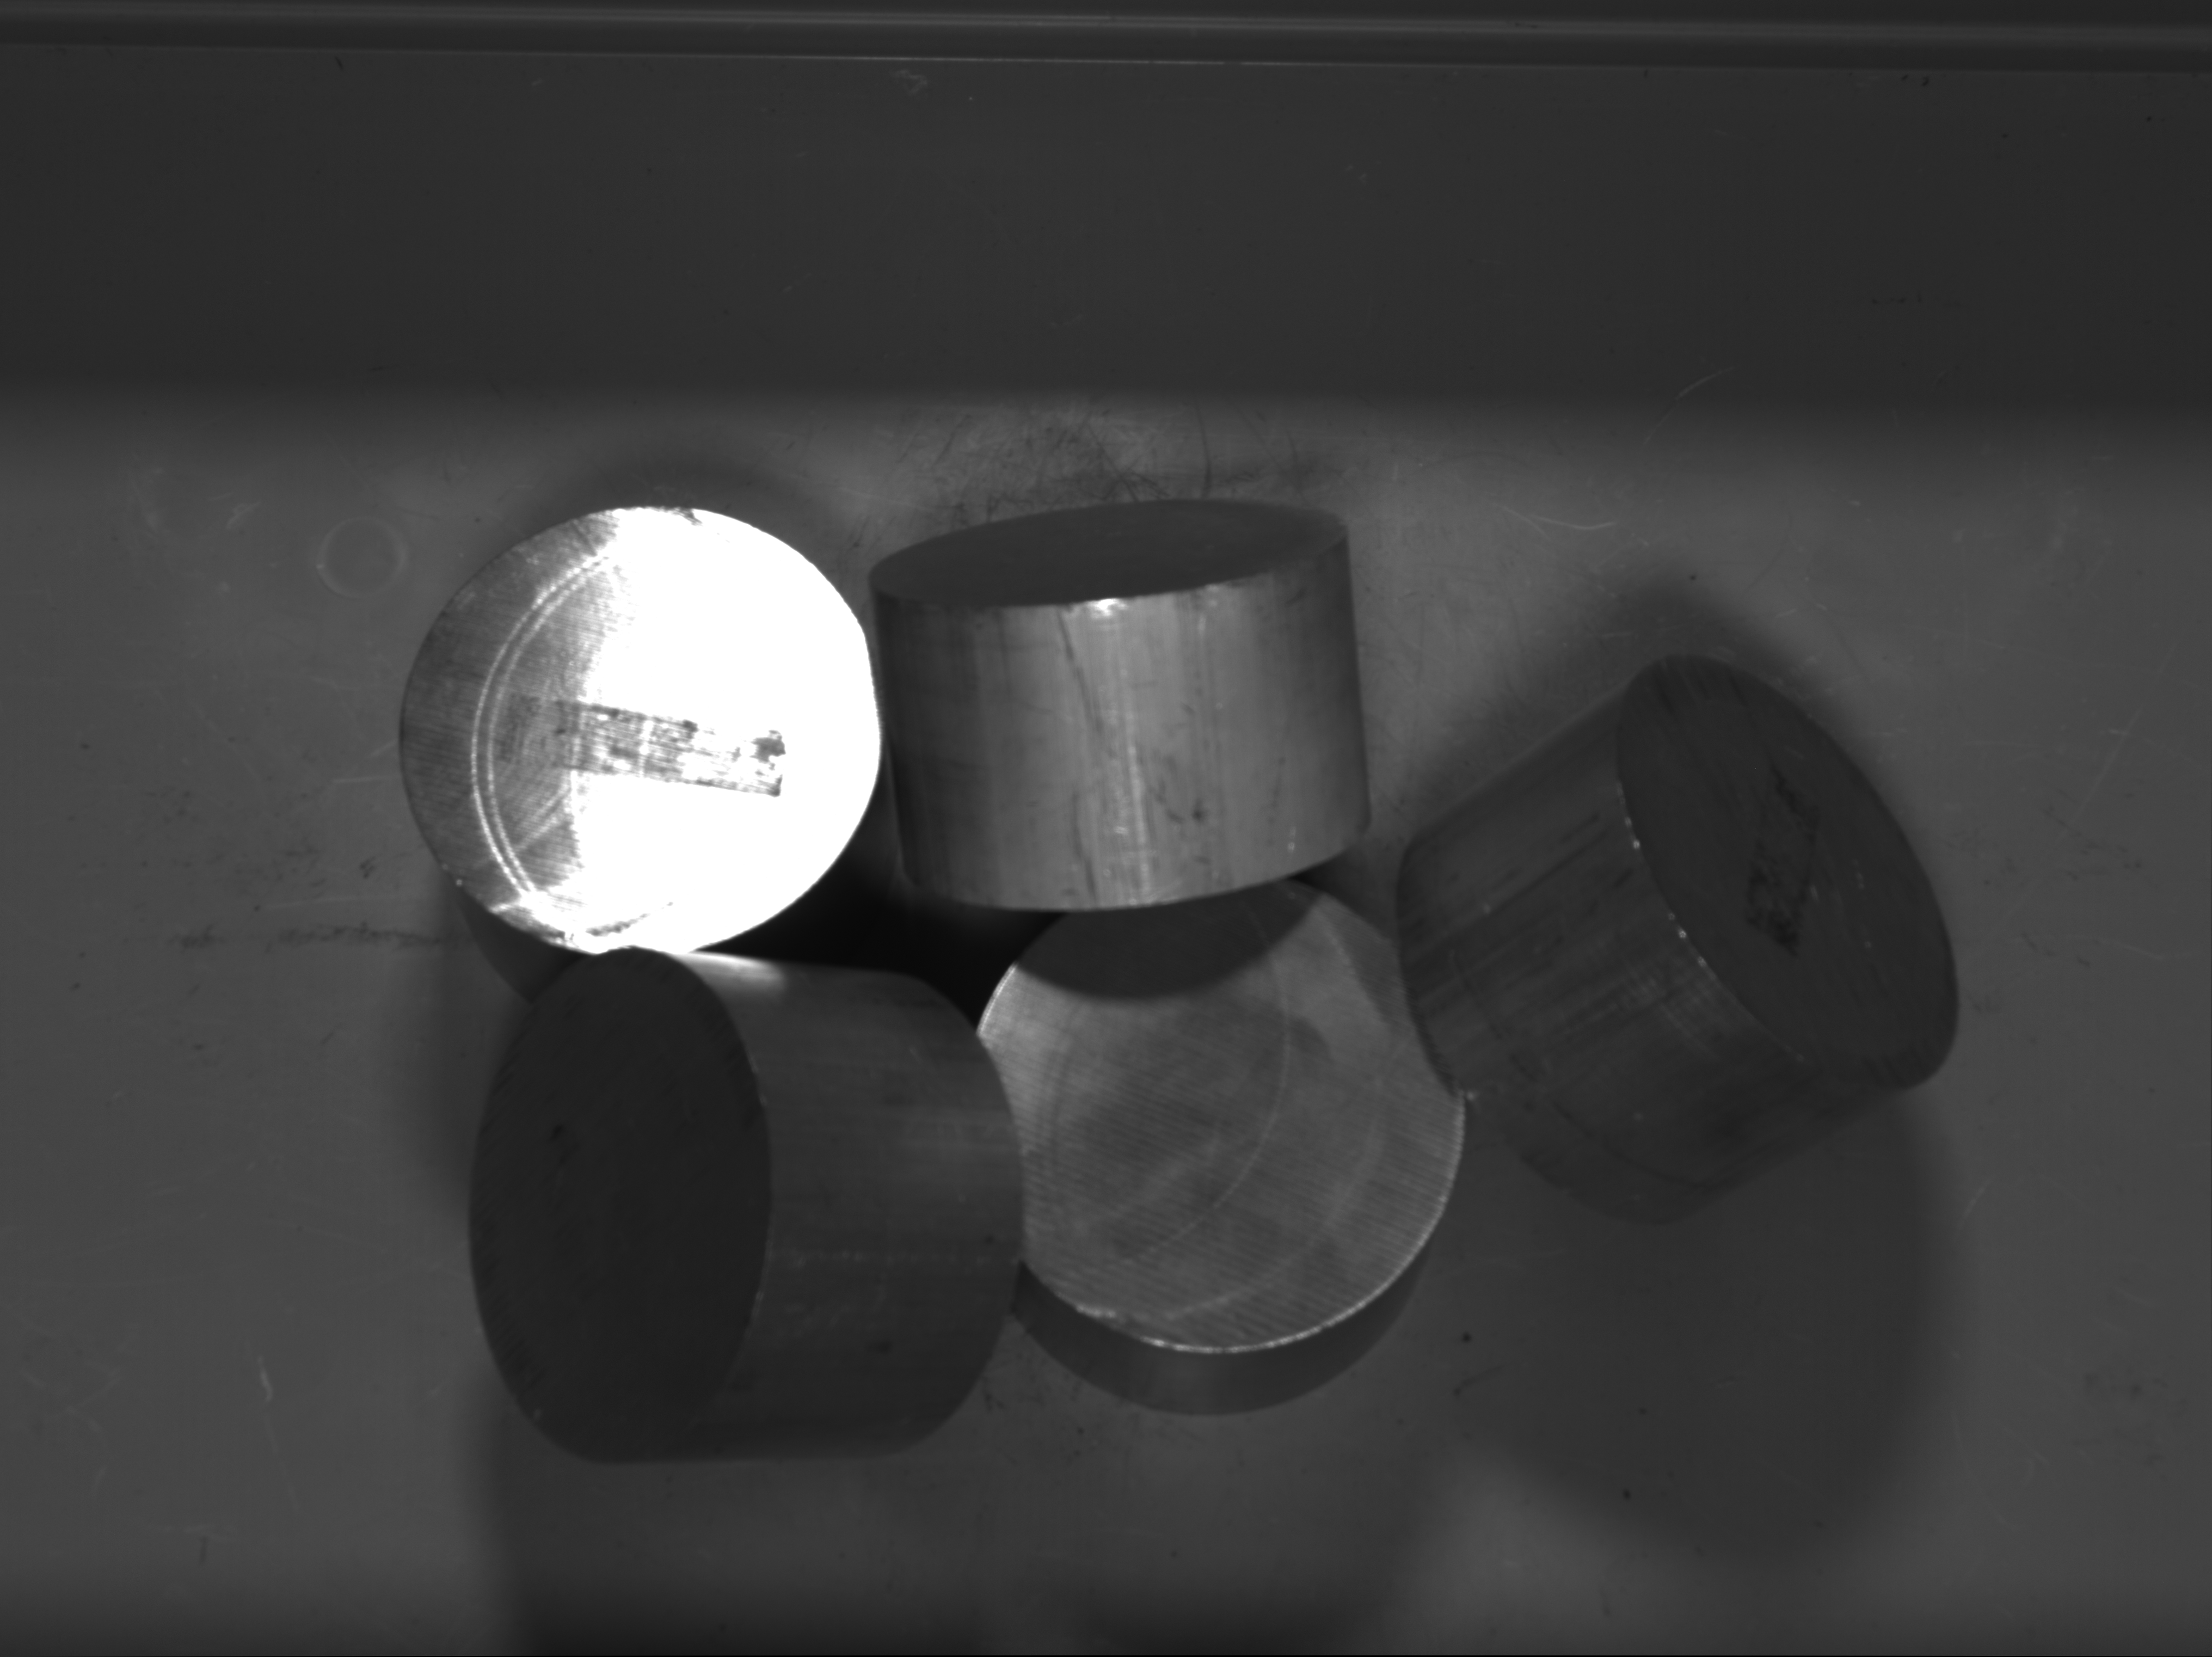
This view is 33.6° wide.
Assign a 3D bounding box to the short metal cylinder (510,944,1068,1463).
[{"bbox_3d":[-0.052,0.060,0.585,0.050,0.080,0.080,8,63,-43],"label":"short metal cylinder"}]

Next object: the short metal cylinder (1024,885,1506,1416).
[{"bbox_3d":[0.024,0.053,0.611,0.080,0.050,0.080,0,70,0],"label":"short metal cylinder"}]

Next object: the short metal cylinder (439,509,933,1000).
[{"bbox_3d":[-0.071,-0.008,0.632,0.080,0.050,0.080,0,70,0],"label":"short metal cylinder"}]

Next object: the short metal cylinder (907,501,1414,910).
[{"bbox_3d":[0.010,-0.022,0.615,0.080,0.080,0.050,-8,105,-3],"label":"short metal cylinder"}]

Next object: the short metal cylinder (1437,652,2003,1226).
[{"bbox_3d":[0.101,0.018,0.602,0.080,0.050,0.080,27,45,-29],"label":"short metal cylinder"}]
